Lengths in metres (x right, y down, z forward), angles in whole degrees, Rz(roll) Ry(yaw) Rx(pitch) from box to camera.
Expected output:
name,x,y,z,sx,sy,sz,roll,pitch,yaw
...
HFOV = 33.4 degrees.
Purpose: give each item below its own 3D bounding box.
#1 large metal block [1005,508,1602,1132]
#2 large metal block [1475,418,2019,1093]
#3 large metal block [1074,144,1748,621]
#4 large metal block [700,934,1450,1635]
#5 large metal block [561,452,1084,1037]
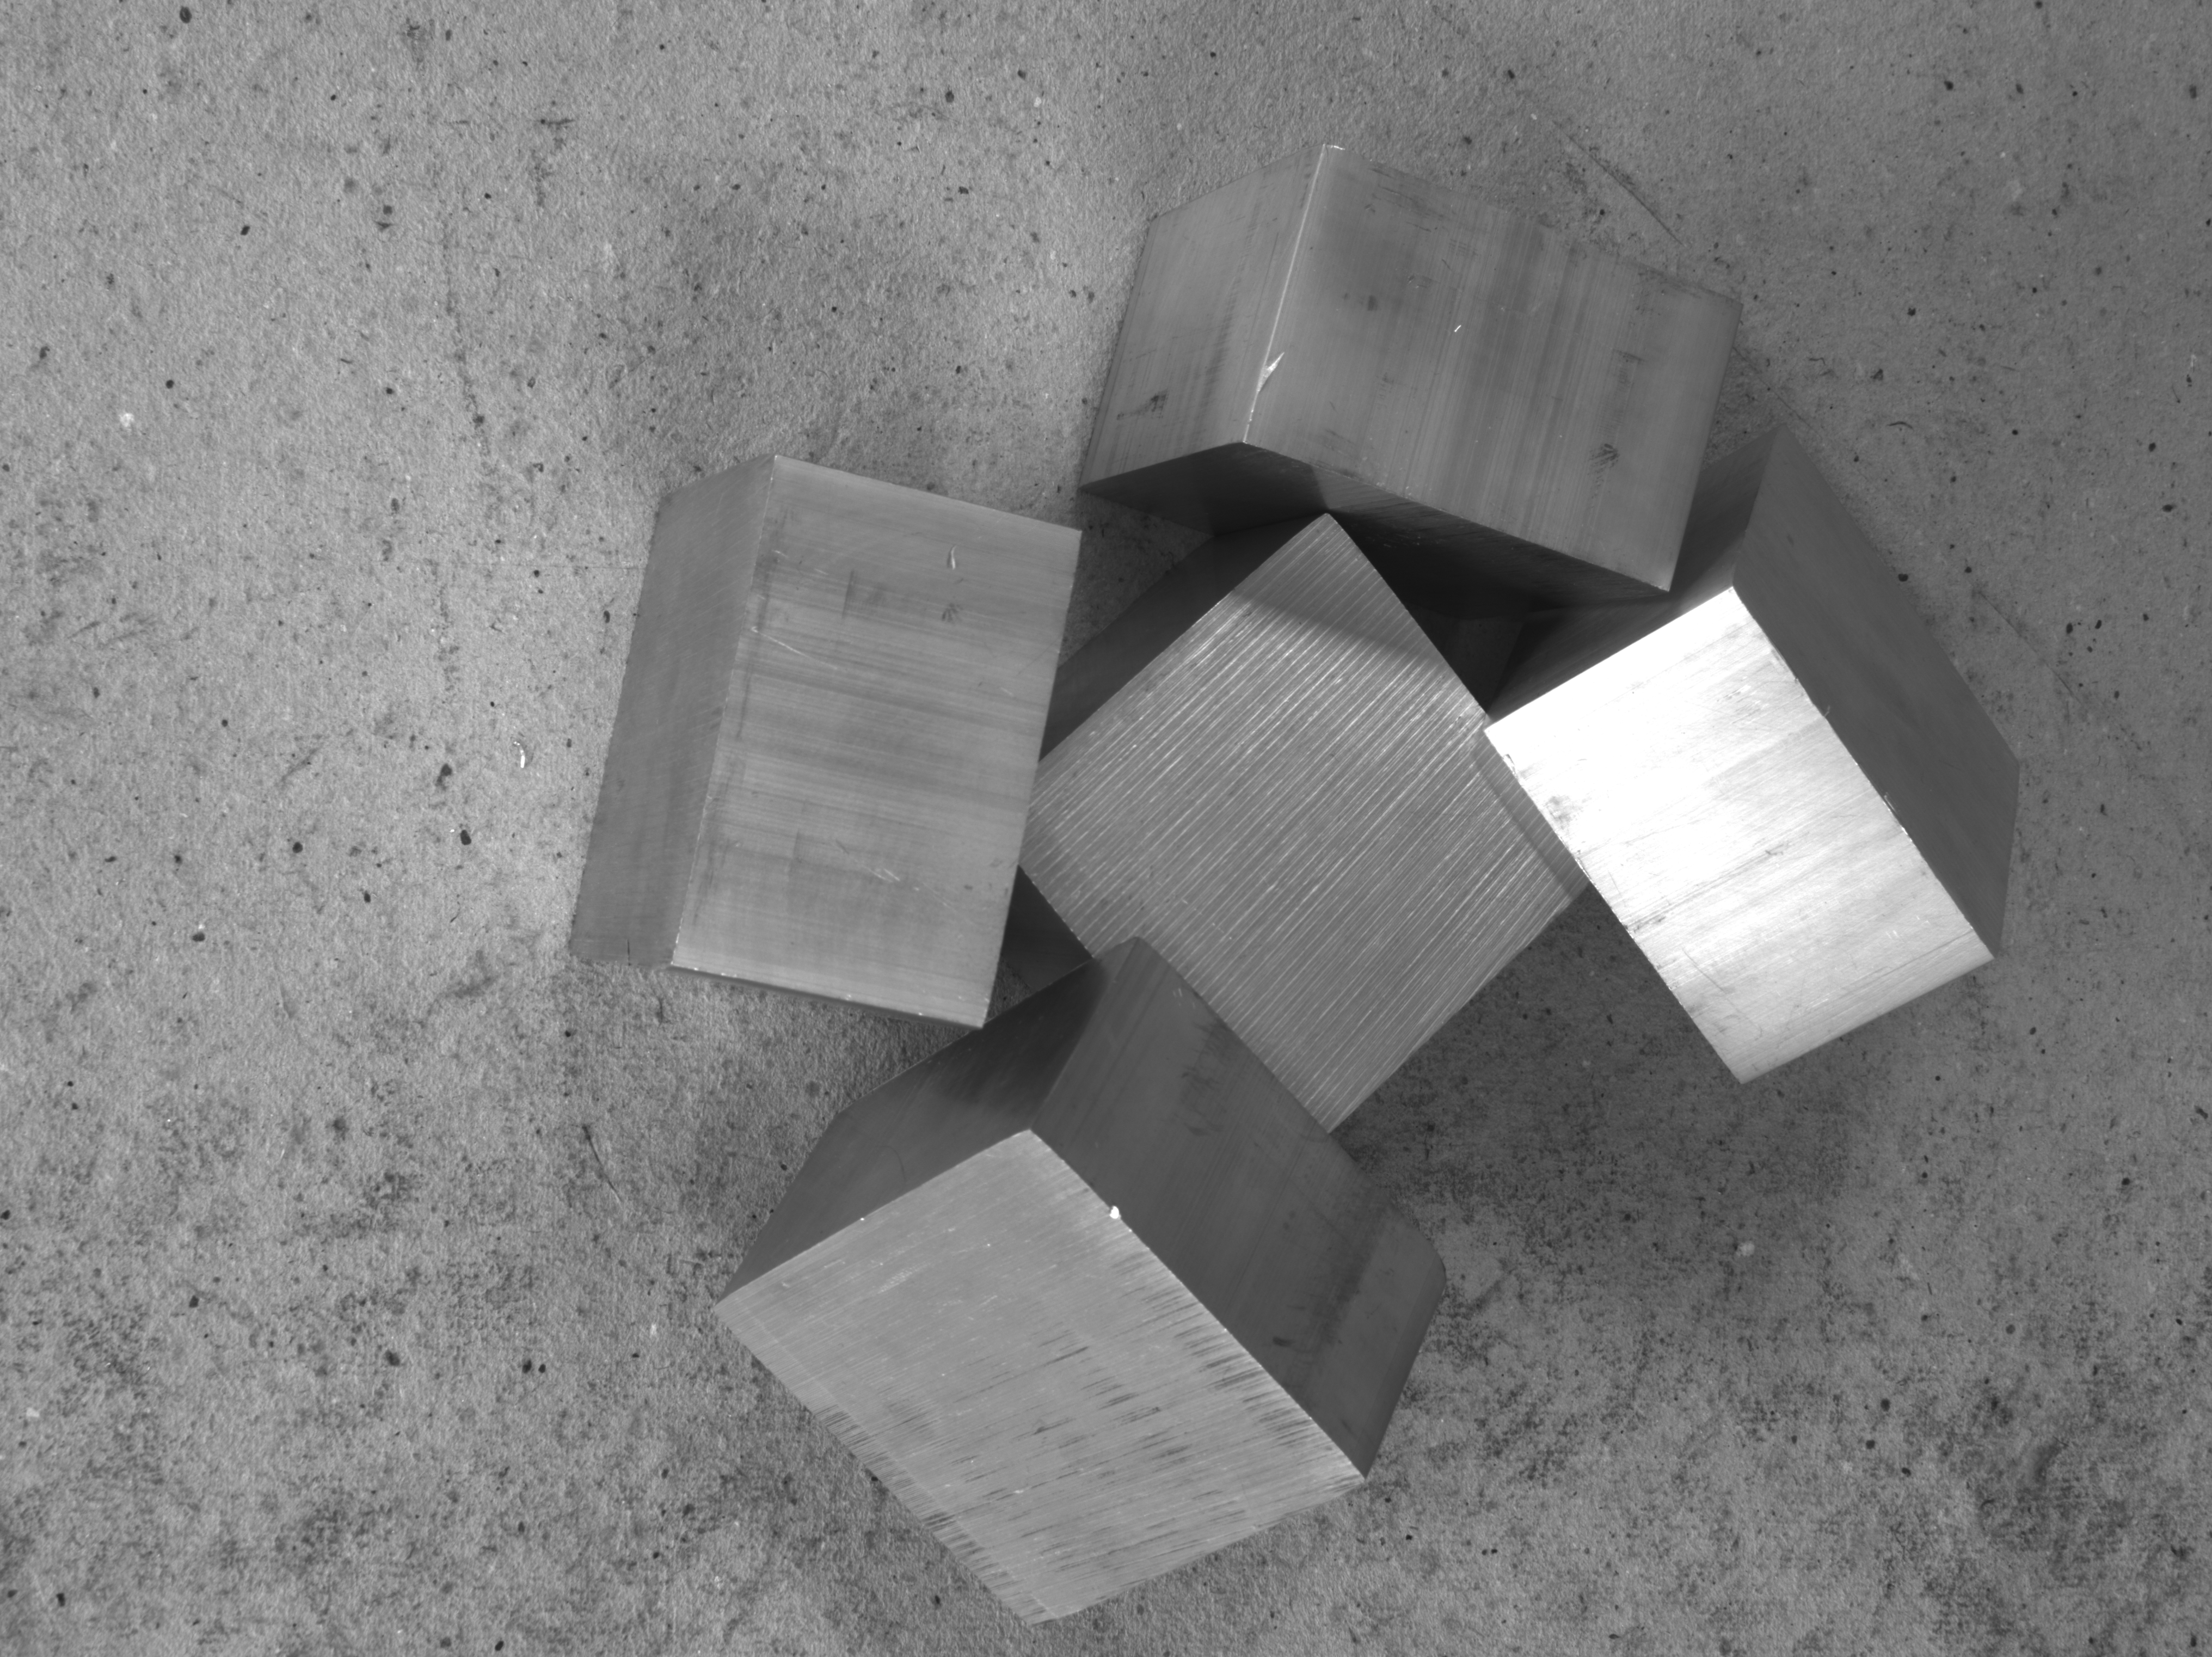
name,x,y,z,sx,sy,sz,roll,pitch,yaw
large metal block,0.024,0.003,0.637,0.080,0.050,0.080,-42,104,-15
large metal block,0.115,-0.014,0.650,0.050,0.080,0.080,-31,104,28
large metal block,0.050,-0.073,0.633,0.080,0.080,0.050,17,84,-19
large metal block,-0.005,0.076,0.606,0.080,0.080,0.050,47,39,-14
large metal block,-0.048,-0.013,0.598,0.050,0.080,0.080,13,86,-20
